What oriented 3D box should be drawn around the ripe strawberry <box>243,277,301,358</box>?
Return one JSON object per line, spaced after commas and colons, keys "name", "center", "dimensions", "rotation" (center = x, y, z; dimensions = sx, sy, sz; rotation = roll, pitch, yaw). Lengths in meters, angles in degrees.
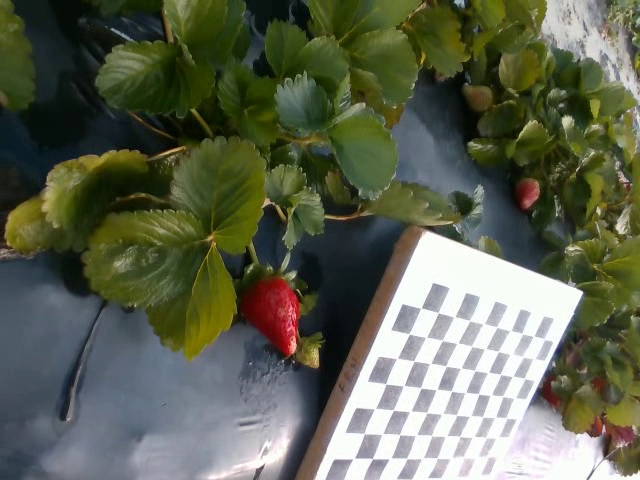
{"name": "ripe strawberry", "center": [-0.029, 0.059, 0.419], "dimensions": [0.043, 0.057, 0.052], "rotation": [-10, -36, -27]}
